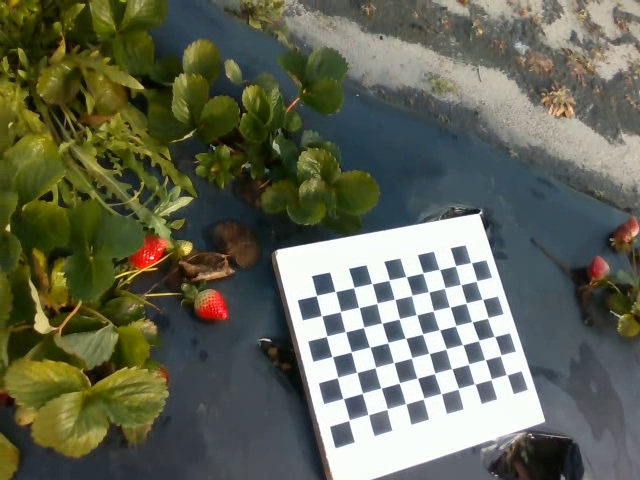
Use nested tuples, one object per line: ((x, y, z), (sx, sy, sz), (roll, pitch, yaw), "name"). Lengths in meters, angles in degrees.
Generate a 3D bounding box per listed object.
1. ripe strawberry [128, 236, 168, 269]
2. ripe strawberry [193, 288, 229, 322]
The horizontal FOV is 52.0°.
((-0.181, 0.009, 0.670), (0.048, 0.040, 0.031), (-29, -4, 17), "ripe strawberry")
((-0.115, 0.071, 0.681), (0.043, 0.035, 0.030), (40, -25, -2), "ripe strawberry")
